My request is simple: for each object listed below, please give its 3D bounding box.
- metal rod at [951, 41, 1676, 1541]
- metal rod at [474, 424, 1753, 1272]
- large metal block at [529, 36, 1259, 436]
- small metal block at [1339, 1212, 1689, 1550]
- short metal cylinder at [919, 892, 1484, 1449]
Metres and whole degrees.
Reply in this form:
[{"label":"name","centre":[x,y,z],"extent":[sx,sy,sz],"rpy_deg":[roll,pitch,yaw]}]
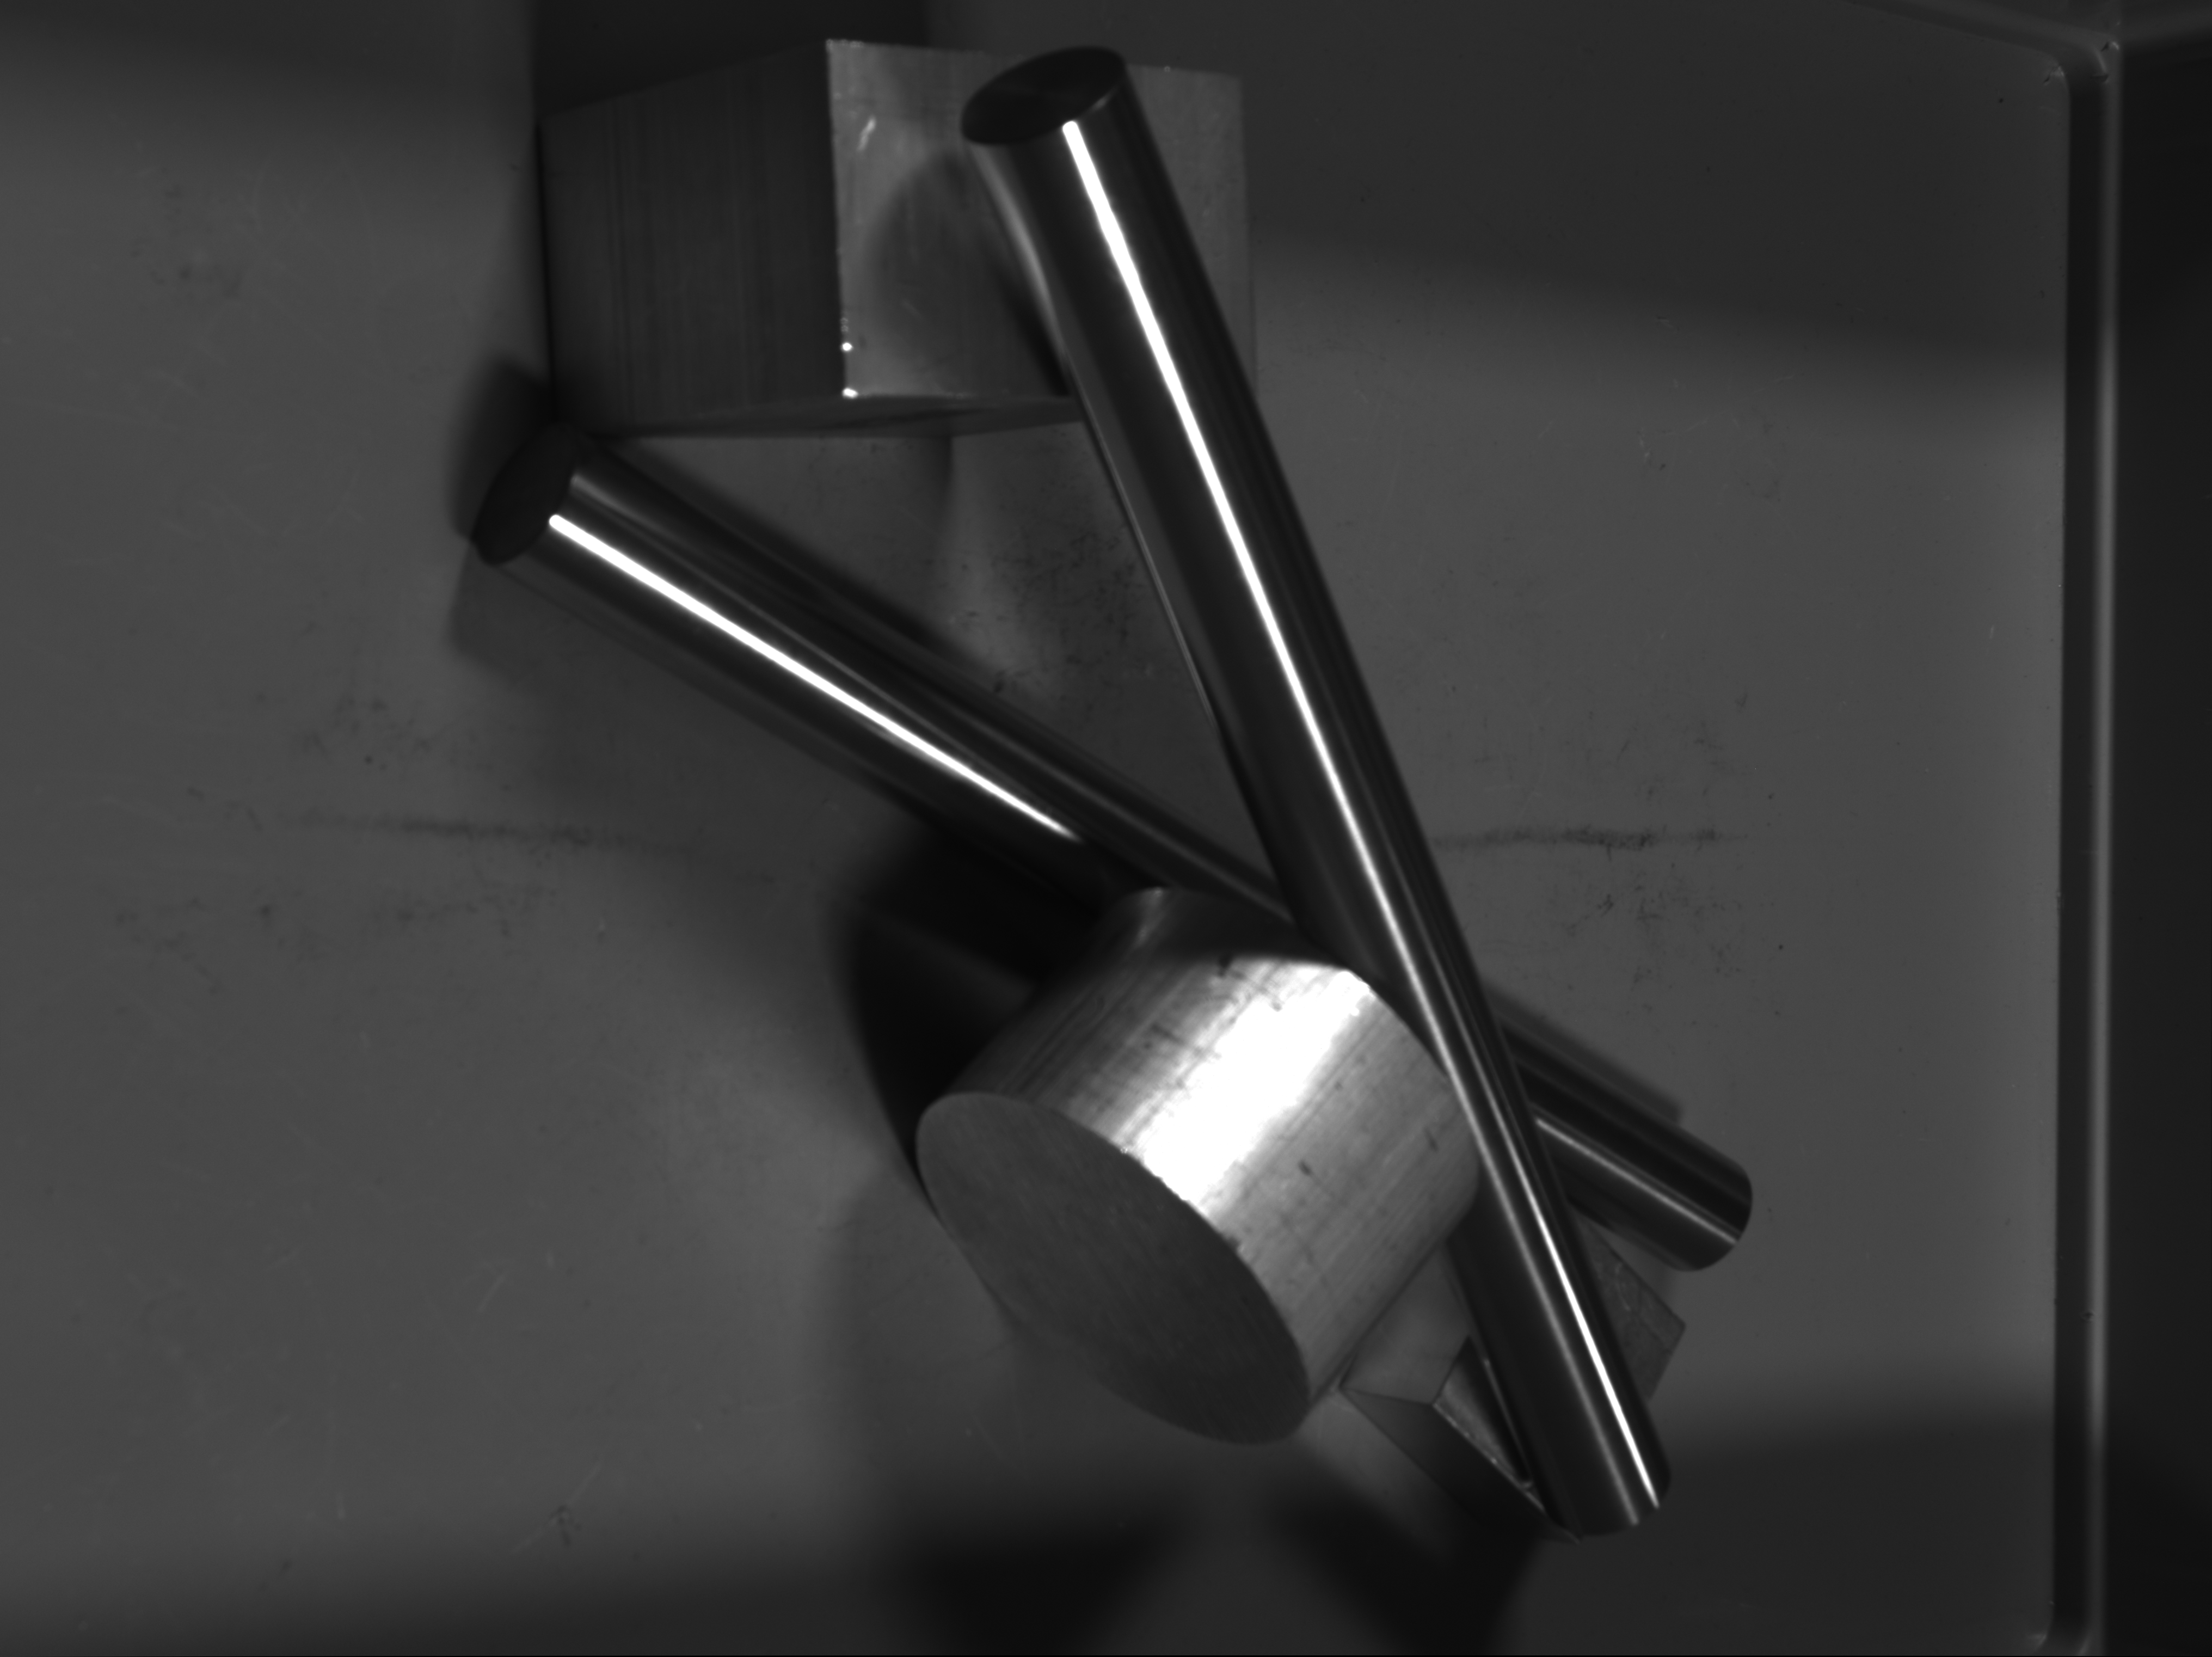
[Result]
[{"label":"metal rod","centre":[0.042,0.010,0.595],"extent":[0.025,0.025,0.300],"rpy_deg":[-47,130,-29]},{"label":"metal rod","centre":[0.015,0.013,0.649],"extent":[0.301,0.025,0.025],"rpy_deg":[32,70,-35]},{"label":"large metal block","centre":[-0.033,-0.089,0.573],"extent":[0.080,0.080,0.050],"rpy_deg":[-5,93,-40]},{"label":"small metal block","centre":[0.079,0.102,0.702],"extent":[0.050,0.025,0.050],"rpy_deg":[46,63,-30]},{"label":"short metal cylinder","centre":[0.016,0.057,0.612],"extent":[0.050,0.080,0.080],"rpy_deg":[-47,118,-29]}]
